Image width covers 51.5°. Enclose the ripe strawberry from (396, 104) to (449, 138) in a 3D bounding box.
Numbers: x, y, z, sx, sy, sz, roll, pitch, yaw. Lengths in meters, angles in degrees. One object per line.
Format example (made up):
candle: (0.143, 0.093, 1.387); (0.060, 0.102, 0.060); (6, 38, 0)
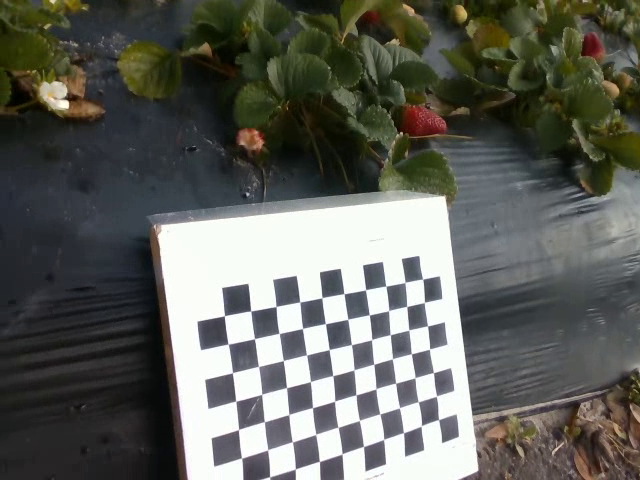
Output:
ripe strawberry: (0.113, -0.127, 0.683); (0.064, 0.051, 0.043); (30, -21, -27)
